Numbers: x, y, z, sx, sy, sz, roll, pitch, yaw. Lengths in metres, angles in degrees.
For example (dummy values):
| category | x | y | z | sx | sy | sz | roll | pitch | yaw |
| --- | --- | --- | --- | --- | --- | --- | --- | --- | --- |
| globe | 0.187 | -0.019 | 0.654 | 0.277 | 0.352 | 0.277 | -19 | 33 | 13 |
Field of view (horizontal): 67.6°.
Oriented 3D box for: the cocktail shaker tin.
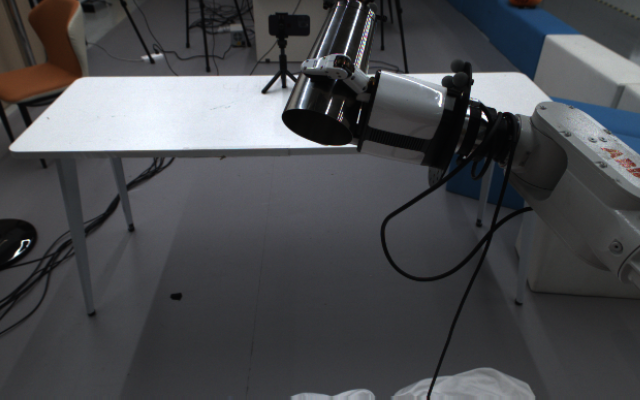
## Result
| category | x | y | z | sx | sy | sz | roll | pitch | yaw |
| --- | --- | --- | --- | --- | --- | --- | --- | --- | --- |
| cocktail shaker tin | 0.020 | -0.167 | 0.621 | 0.093 | 0.093 | 0.170 | 13 | 73 | 15 |
